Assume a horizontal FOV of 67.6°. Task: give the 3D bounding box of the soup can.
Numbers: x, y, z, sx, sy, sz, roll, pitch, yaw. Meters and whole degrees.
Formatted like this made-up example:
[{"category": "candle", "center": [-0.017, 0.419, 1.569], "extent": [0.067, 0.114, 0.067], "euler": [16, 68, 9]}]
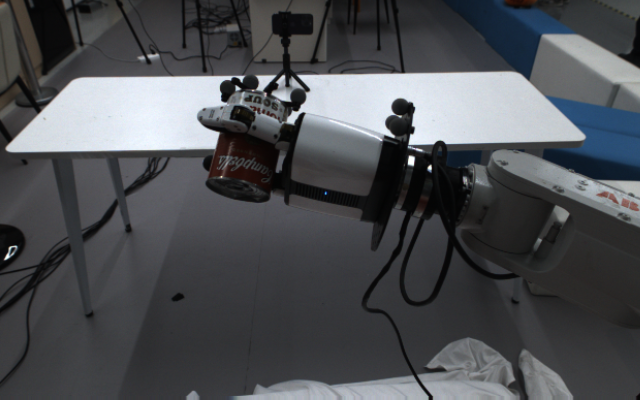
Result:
[{"category": "soup can", "center": [-0.073, -0.055, 0.508], "extent": [0.067, 0.067, 0.101], "euler": [8, 72, 9]}]
